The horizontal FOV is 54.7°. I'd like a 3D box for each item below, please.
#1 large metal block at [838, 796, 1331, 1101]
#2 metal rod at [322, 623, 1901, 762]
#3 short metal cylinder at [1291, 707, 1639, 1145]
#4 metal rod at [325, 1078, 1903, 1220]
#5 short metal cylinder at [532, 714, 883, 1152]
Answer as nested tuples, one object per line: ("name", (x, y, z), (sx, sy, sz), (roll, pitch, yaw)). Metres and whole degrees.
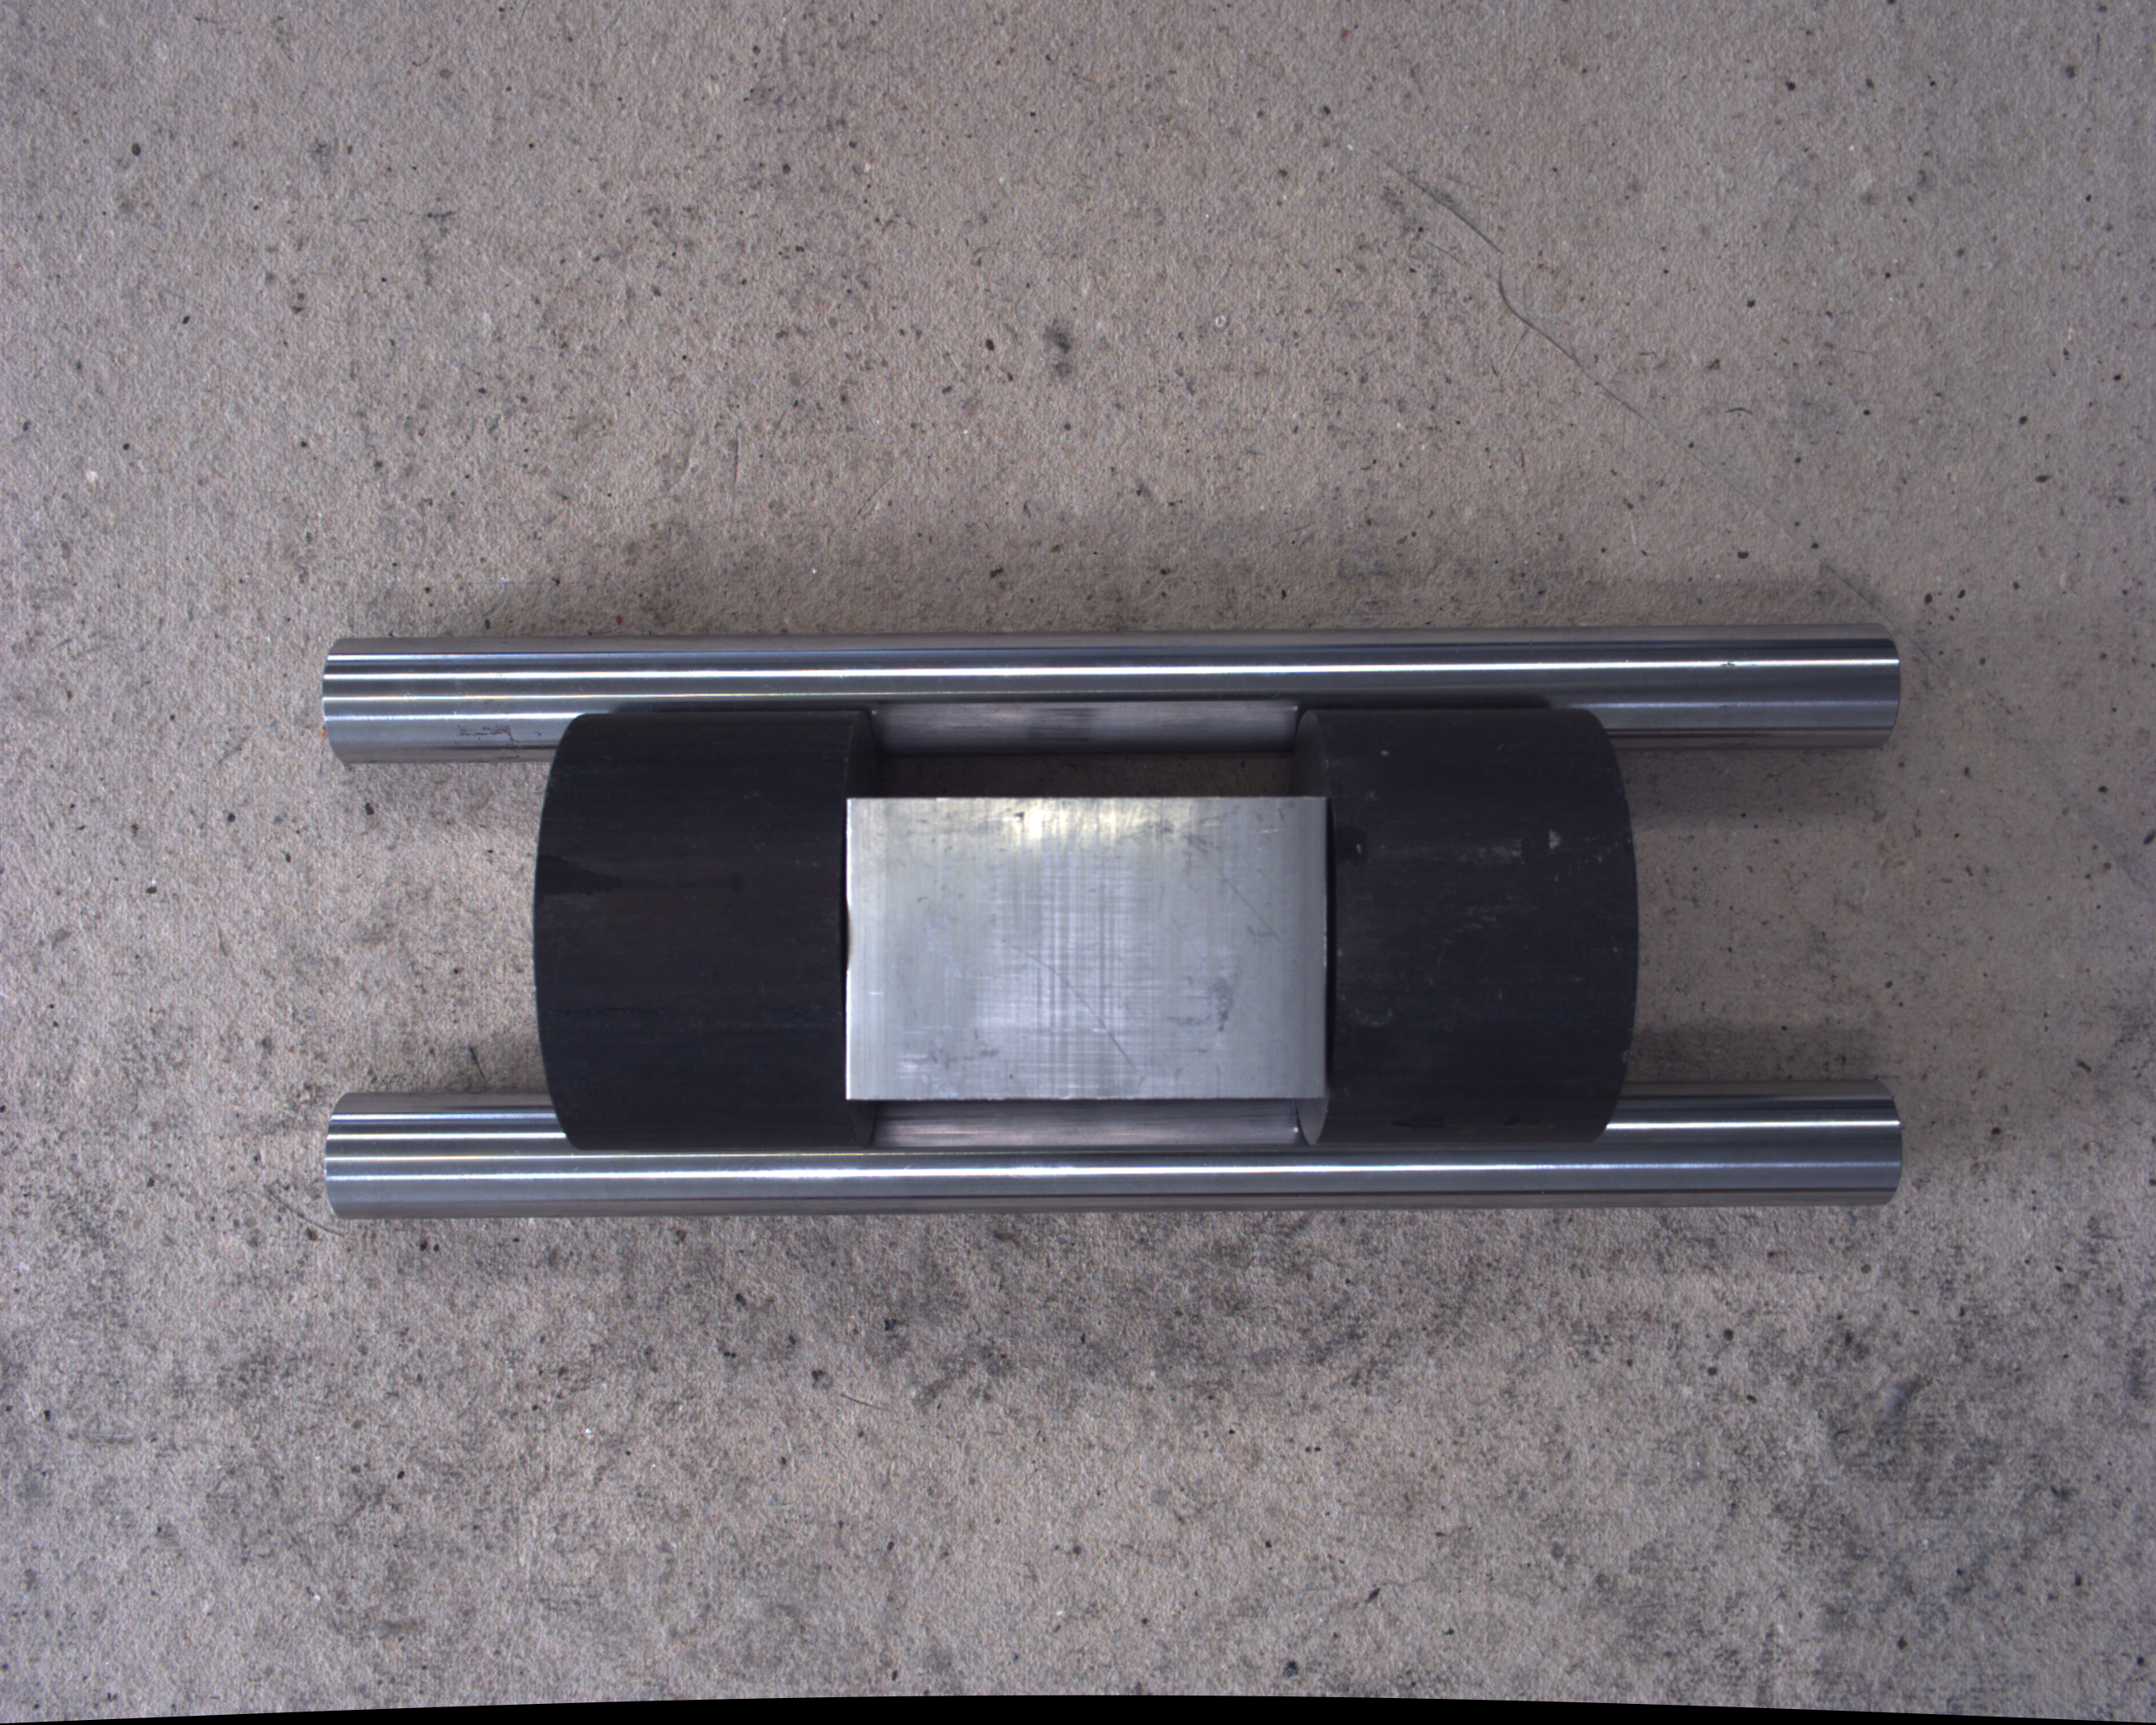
("large metal block", (0.001, 0.014, 0.381), (0.081, 0.080, 0.050), (0, 90, 0))
("metal rod", (0.007, -0.033, 0.411), (0.302, 0.025, 0.025), (-1, 90, 0))
("short metal cylinder", (0.067, 0.012, 0.384), (0.050, 0.080, 0.079), (-1, 90, 0))
("metal rod", (0.007, 0.056, 0.411), (0.302, 0.025, 0.025), (-1, 90, 0))
("short metal cylinder", (-0.064, 0.012, 0.383), (0.050, 0.080, 0.079), (-1, 90, 0))
